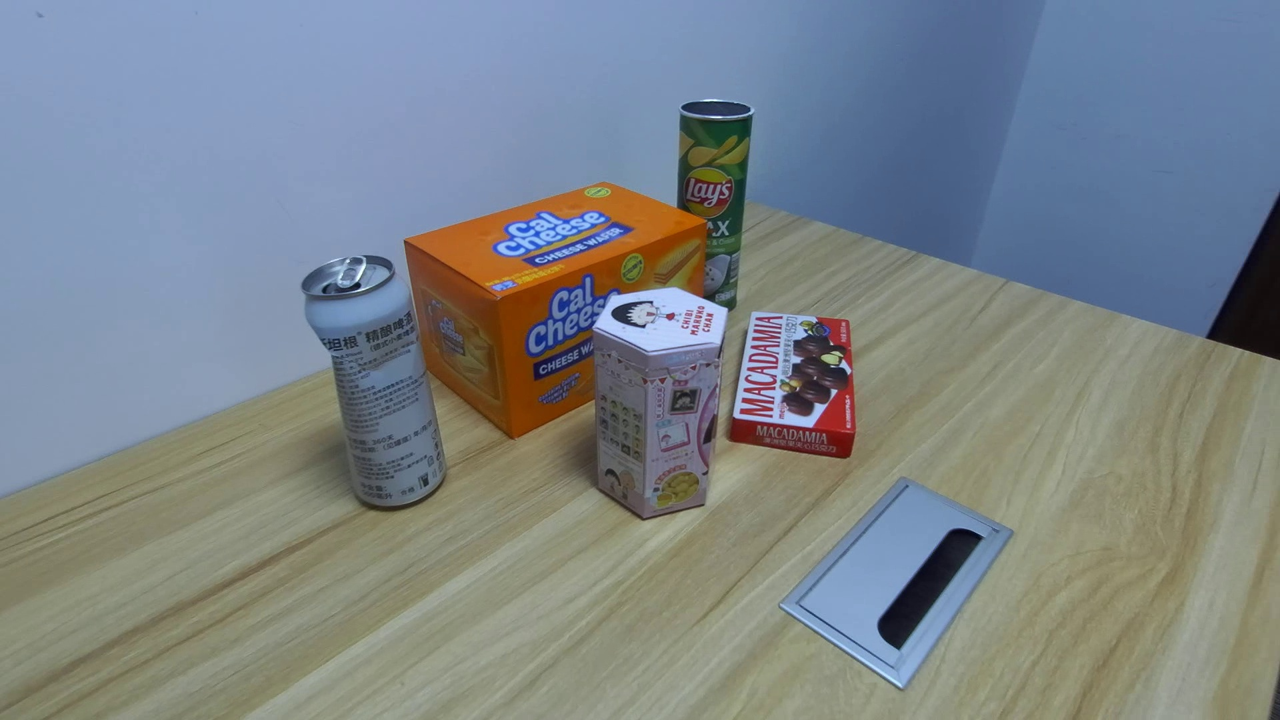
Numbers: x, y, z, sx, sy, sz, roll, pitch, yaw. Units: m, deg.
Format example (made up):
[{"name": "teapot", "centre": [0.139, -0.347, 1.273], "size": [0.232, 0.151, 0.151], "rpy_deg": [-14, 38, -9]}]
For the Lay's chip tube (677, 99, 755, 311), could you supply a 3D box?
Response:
[{"name": "Lay's chip tube", "centre": [0.071, -0.148, 0.700], "size": [0.071, 0.203, 0.071], "rpy_deg": [0, 33, 1]}]

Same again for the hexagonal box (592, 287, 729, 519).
[{"name": "hexagonal box", "centre": [0.015, 0.029, 0.482], "size": [0.084, 0.136, 0.091], "rpy_deg": [6, 33, 10]}]

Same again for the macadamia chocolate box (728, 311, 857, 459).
[{"name": "macadamia chocolate box", "centre": [0.134, 0.014, 0.612], "size": [0.095, 0.027, 0.178], "rpy_deg": [7, 33, 11]}]

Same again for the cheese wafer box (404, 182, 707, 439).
[{"name": "cheese wafer box", "centre": [-0.067, -0.057, 0.630], "size": [0.222, 0.129, 0.147], "rpy_deg": [-26, 41, -35]}]

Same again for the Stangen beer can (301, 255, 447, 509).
[{"name": "Stangen beer can", "centre": [-0.177, 0.017, 0.472], "size": [0.069, 0.173, 0.070], "rpy_deg": [16, 35, 26]}]
